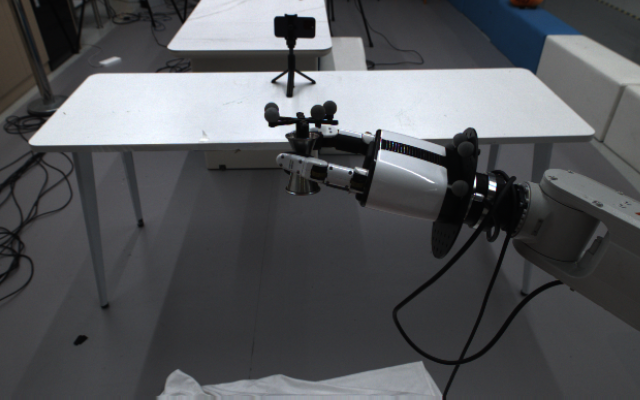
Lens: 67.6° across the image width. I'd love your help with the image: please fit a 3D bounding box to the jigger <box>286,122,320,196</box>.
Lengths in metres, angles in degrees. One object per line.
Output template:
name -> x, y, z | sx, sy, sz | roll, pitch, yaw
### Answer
jigger -> -0.021, -0.044, 0.582 | 0.043, 0.071, 0.043 | 0, 21, 0
